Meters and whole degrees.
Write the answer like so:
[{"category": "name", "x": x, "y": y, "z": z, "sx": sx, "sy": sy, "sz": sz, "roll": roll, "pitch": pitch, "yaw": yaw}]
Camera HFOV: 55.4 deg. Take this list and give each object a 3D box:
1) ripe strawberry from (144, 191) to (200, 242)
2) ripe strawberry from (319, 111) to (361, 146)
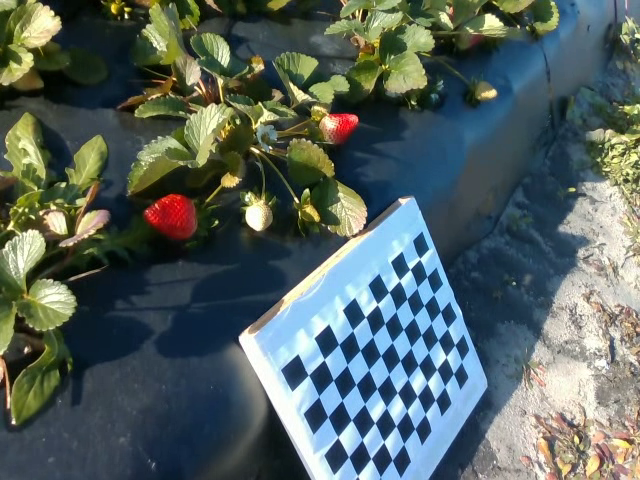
[{"category": "ripe strawberry", "x": -0.114, "y": -0.019, "z": 0.452, "sx": 0.036, "sy": 0.044, "sz": 0.053, "roll": -6, "pitch": -3, "yaw": 37}, {"category": "ripe strawberry", "x": 0.019, "y": -0.111, "z": 0.584, "sx": 0.045, "sy": 0.037, "sz": 0.042, "roll": -27, "pitch": 30, "yaw": 21}]
